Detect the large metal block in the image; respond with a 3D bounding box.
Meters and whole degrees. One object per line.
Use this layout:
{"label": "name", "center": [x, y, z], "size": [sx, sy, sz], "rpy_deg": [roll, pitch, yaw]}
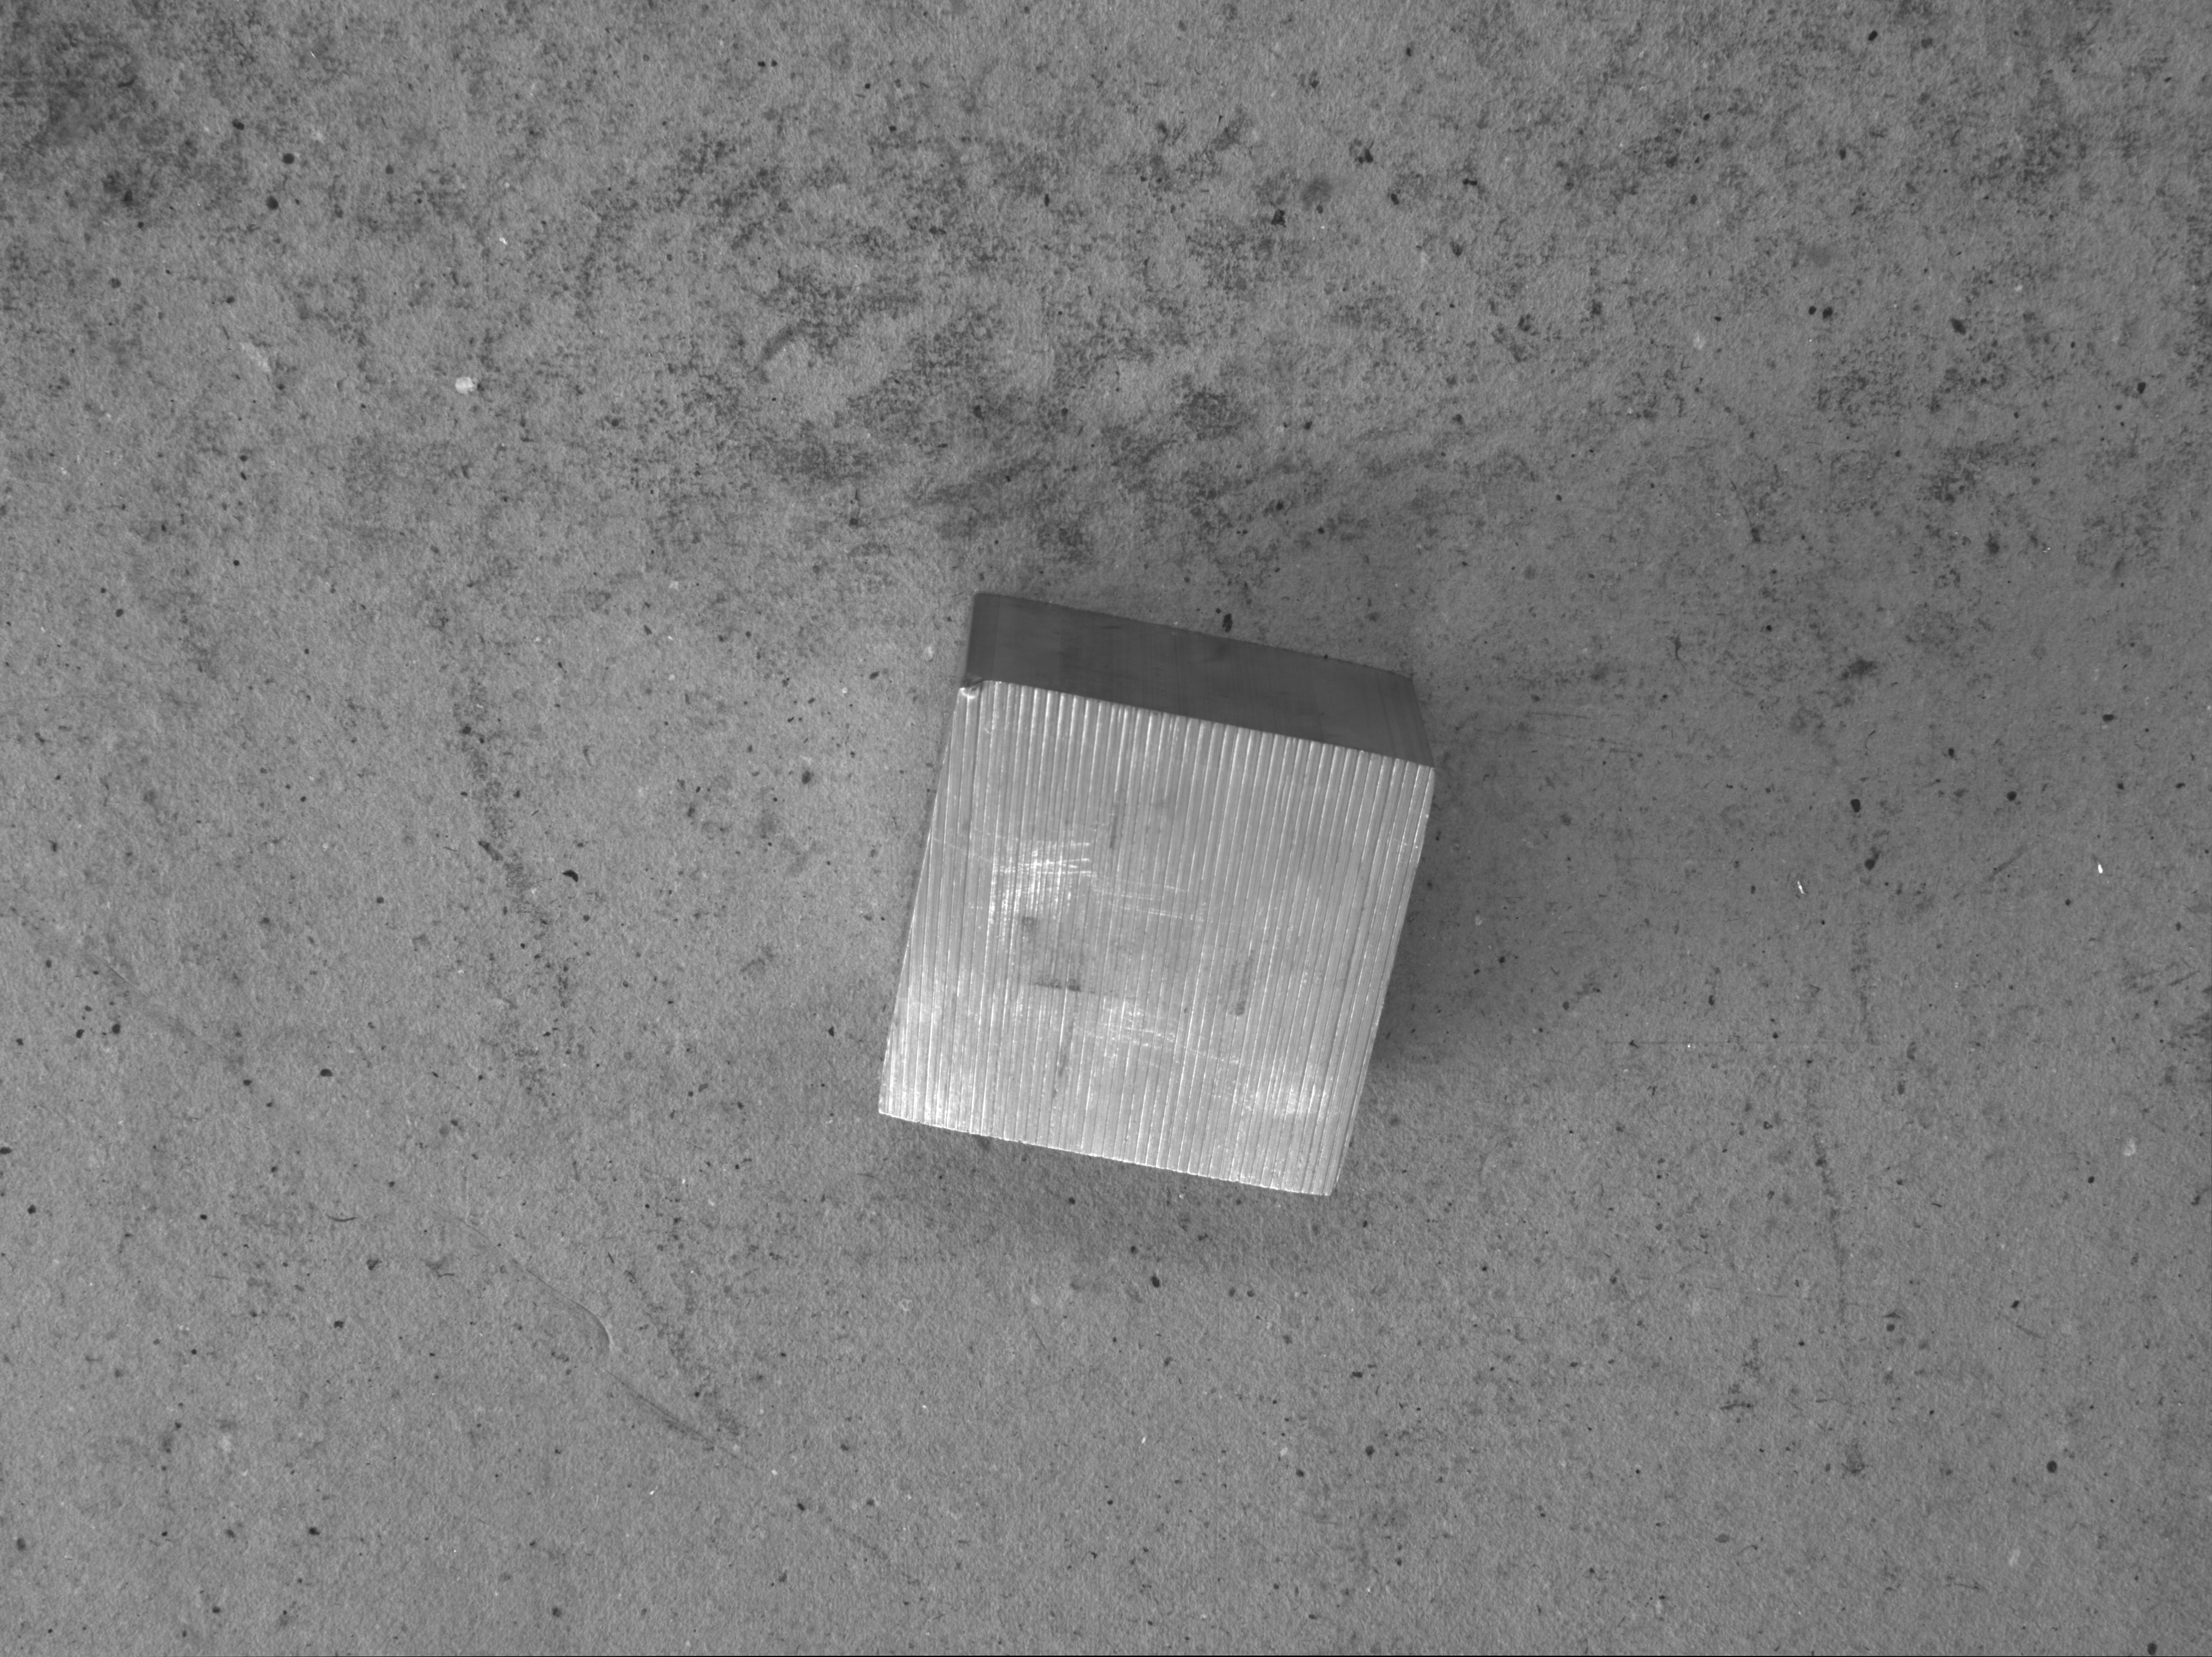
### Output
{"label": "large metal block", "center": [0.007, 0.011, 0.635], "size": [0.080, 0.050, 0.080], "rpy_deg": [10, 110, -5]}
